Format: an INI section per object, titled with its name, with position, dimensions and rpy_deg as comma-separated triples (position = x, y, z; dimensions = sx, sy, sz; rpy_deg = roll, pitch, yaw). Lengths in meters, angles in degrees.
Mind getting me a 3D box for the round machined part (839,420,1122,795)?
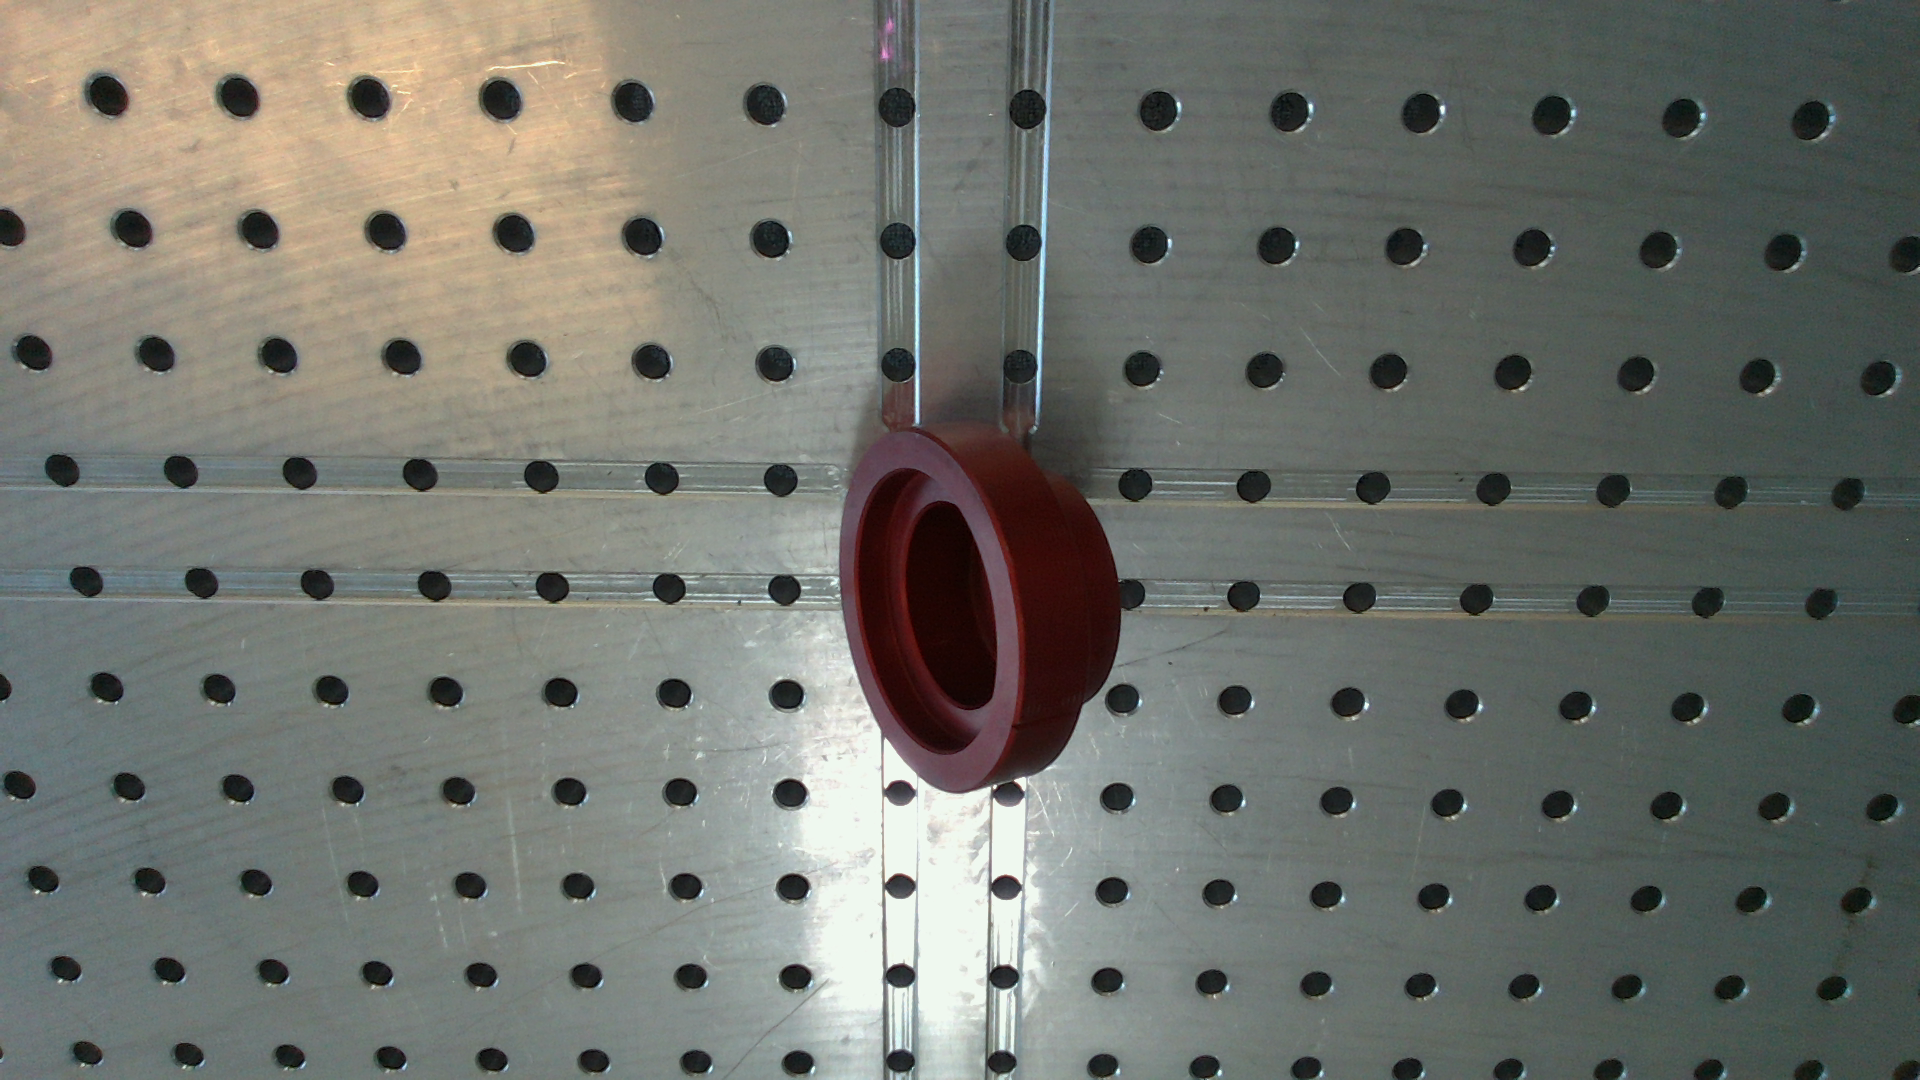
[round machined part]
position = 0.007, 0.016, 0.374
dimensions = 0.042, 0.098, 0.098
rpy_deg = -9, 114, -30
